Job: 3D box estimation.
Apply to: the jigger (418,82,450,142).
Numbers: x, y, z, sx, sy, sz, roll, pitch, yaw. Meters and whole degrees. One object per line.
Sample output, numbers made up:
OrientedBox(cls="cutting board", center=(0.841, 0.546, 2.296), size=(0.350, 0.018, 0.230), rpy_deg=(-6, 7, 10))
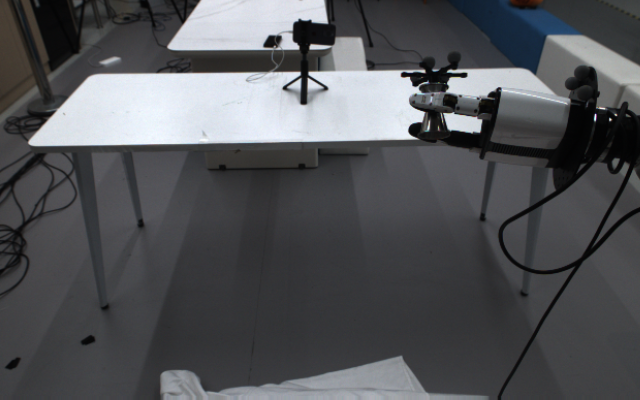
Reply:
OrientedBox(cls="jigger", center=(0.153, -0.121, 0.662), size=(0.043, 0.071, 0.043), rpy_deg=(2, -6, 0))
